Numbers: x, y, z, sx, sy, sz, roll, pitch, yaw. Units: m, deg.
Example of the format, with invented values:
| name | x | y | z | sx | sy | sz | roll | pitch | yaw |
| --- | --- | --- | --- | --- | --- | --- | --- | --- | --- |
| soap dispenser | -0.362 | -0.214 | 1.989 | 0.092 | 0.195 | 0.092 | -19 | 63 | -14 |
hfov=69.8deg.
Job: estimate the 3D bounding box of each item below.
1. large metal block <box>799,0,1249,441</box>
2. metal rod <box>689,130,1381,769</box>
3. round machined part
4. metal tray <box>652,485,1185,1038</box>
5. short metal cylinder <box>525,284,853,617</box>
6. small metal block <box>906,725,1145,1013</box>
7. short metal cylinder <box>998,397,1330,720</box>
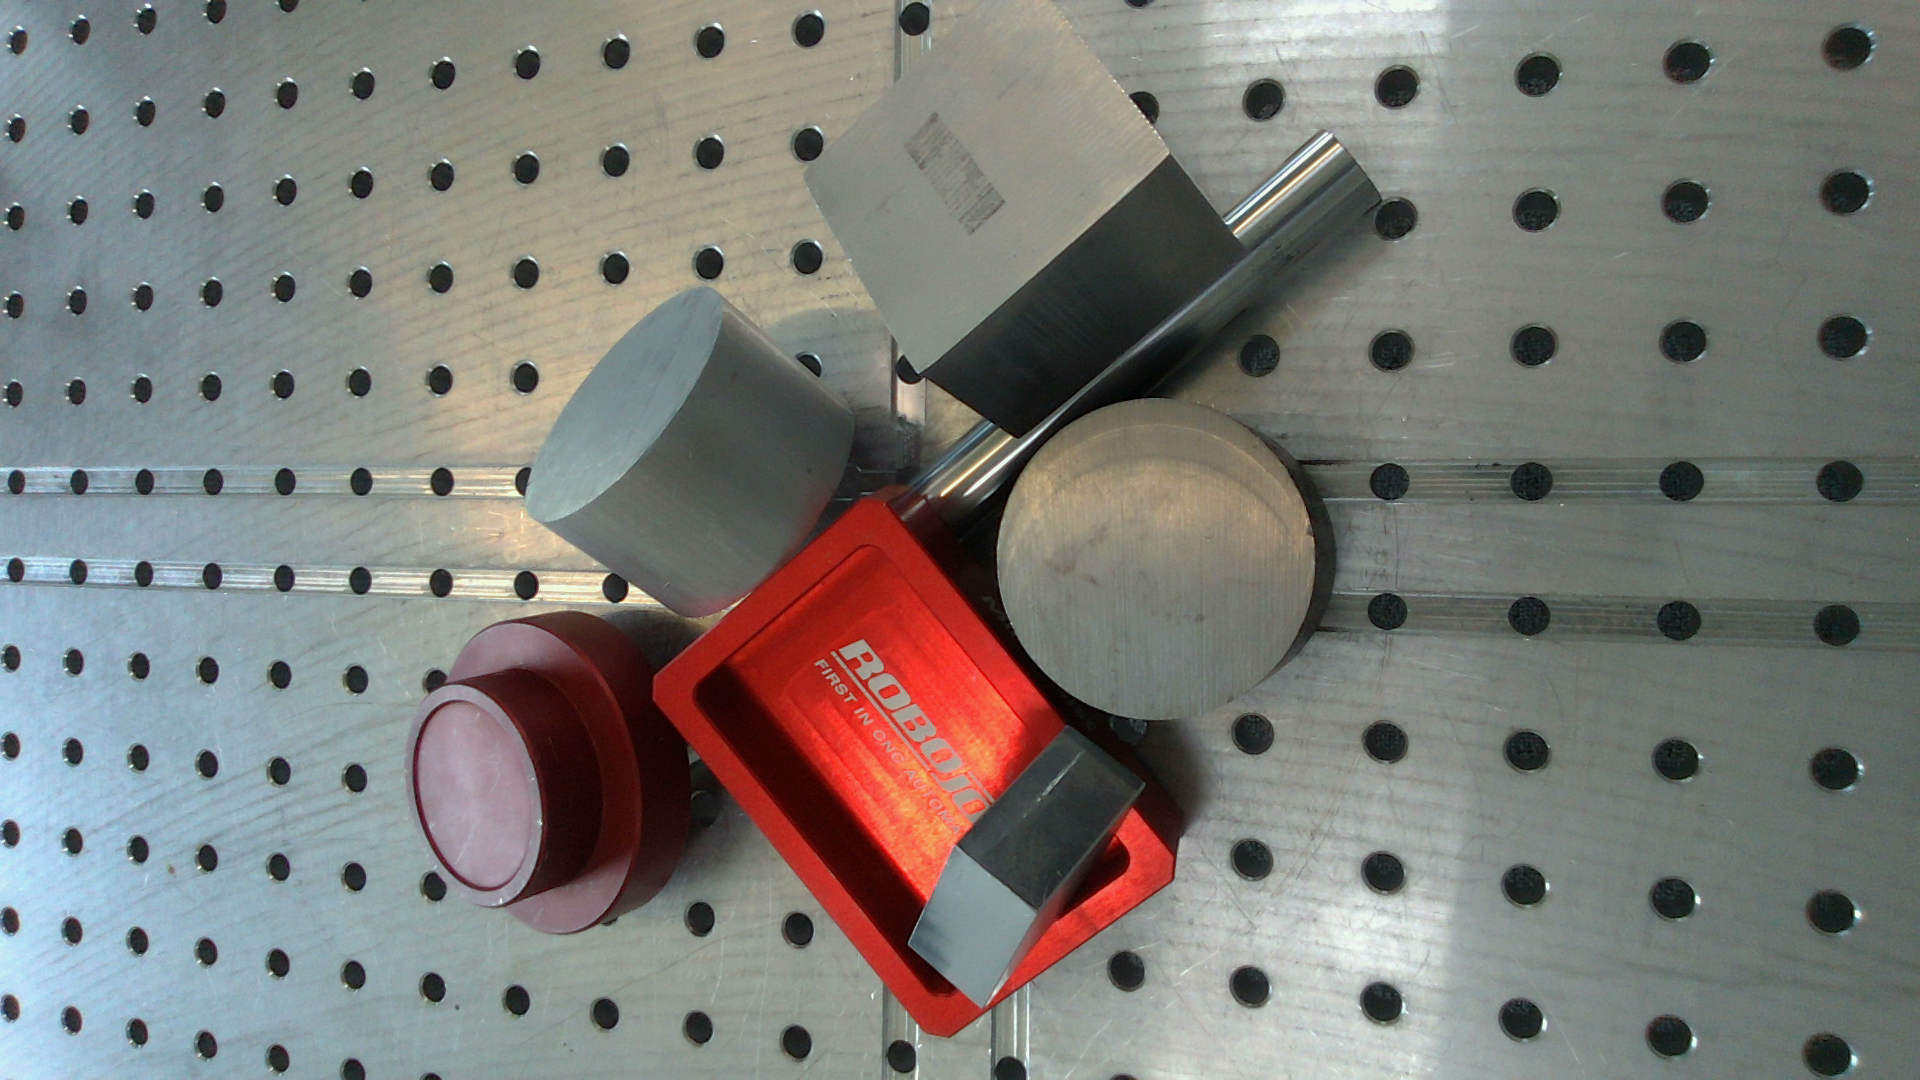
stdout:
| name | x | y | z | sx | sy | sz | roll | pitch | yaw |
| --- | --- | --- | --- | --- | --- | --- | --- | --- | --- |
| large metal block | 0.015 | -0.088 | 0.367 | 0.080 | 0.050 | 0.080 | -39 | 58 | 16 |
| metal rod | -0.008 | -0.006 | 0.403 | 0.299 | 0.025 | 0.025 | -40 | 77 | 16 |
| round machined part | -0.132 | 0.073 | 0.423 | 0.098 | 0.042 | 0.098 | 5 | 99 | 35 |
| metal tray | -0.011 | 0.061 | 0.385 | 0.090 | 0.030 | 0.130 | -39 | 90 | 16 |
| short metal cylinder | -0.077 | -0.025 | 0.391 | 0.080 | 0.050 | 0.080 | -31 | 37 | 27 |
| small metal block | 0.016 | 0.083 | 0.348 | 0.025 | 0.050 | 0.050 | 36 | 137 | 15 |
| short metal cylinder | 0.056 | 0.004 | 0.364 | 0.080 | 0.050 | 0.080 | 0 | 90 | 20 |
